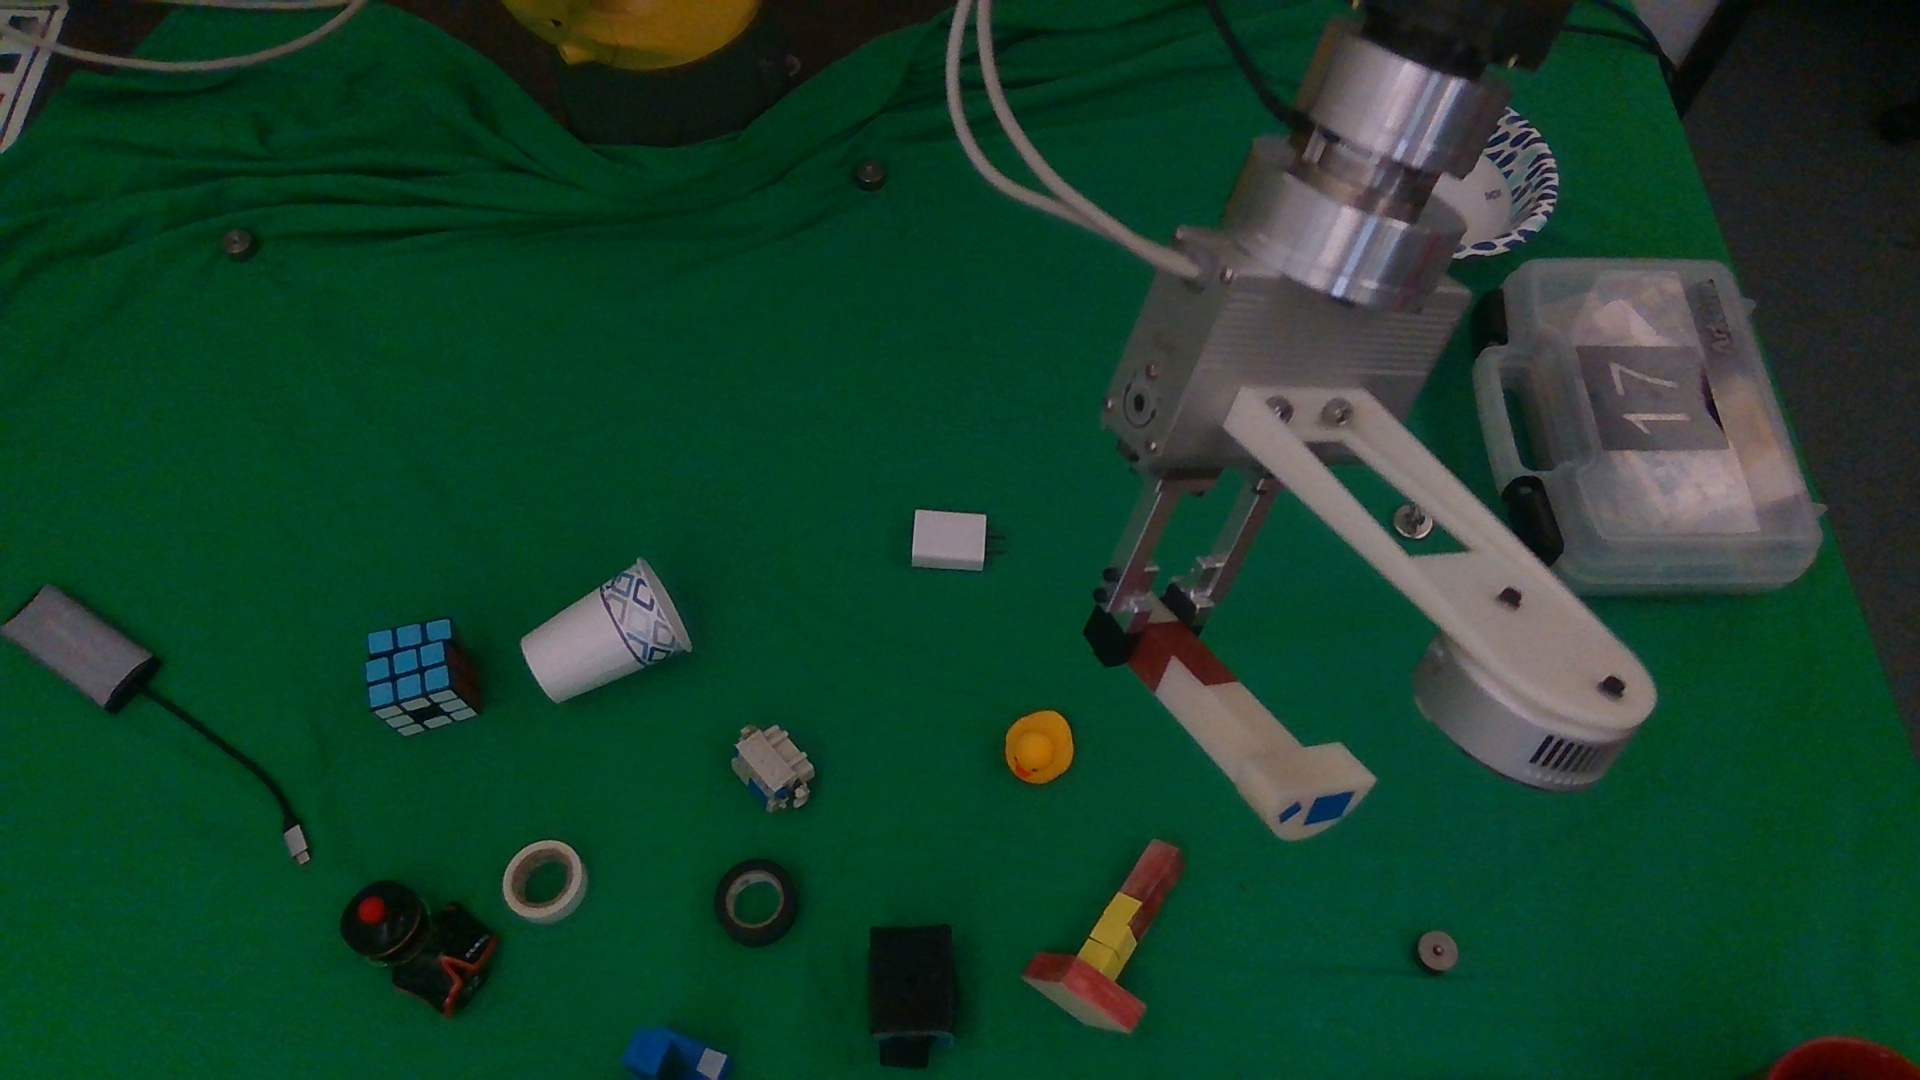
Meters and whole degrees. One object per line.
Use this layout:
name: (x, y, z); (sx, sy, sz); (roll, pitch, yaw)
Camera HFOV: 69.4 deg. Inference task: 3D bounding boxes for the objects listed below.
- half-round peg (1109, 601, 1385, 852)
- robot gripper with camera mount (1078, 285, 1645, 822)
half-round peg: (0.099, 0.066, 0.525); (0.054, 0.031, 0.122); (-3, 36, -34)
robot gripper with camera mount: (0.136, 0.032, 0.477); (0.118, 0.159, 0.194); (-5, 41, -35)
